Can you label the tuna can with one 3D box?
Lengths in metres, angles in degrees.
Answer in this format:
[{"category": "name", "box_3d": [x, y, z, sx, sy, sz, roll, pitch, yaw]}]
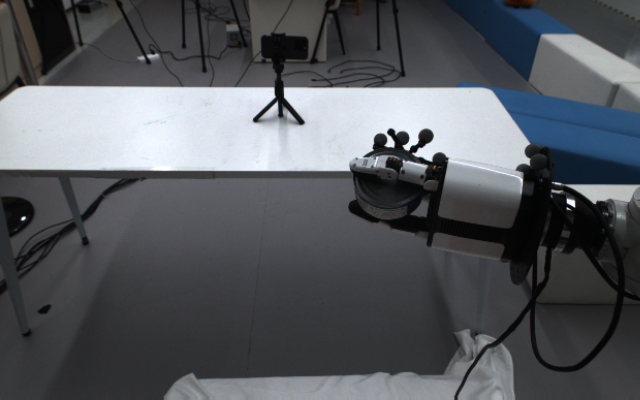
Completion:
[{"category": "tuna can", "box_3d": [0.085, -0.023, 0.584, 0.085, 0.034, 0.085, -4, 55, 6]}]
